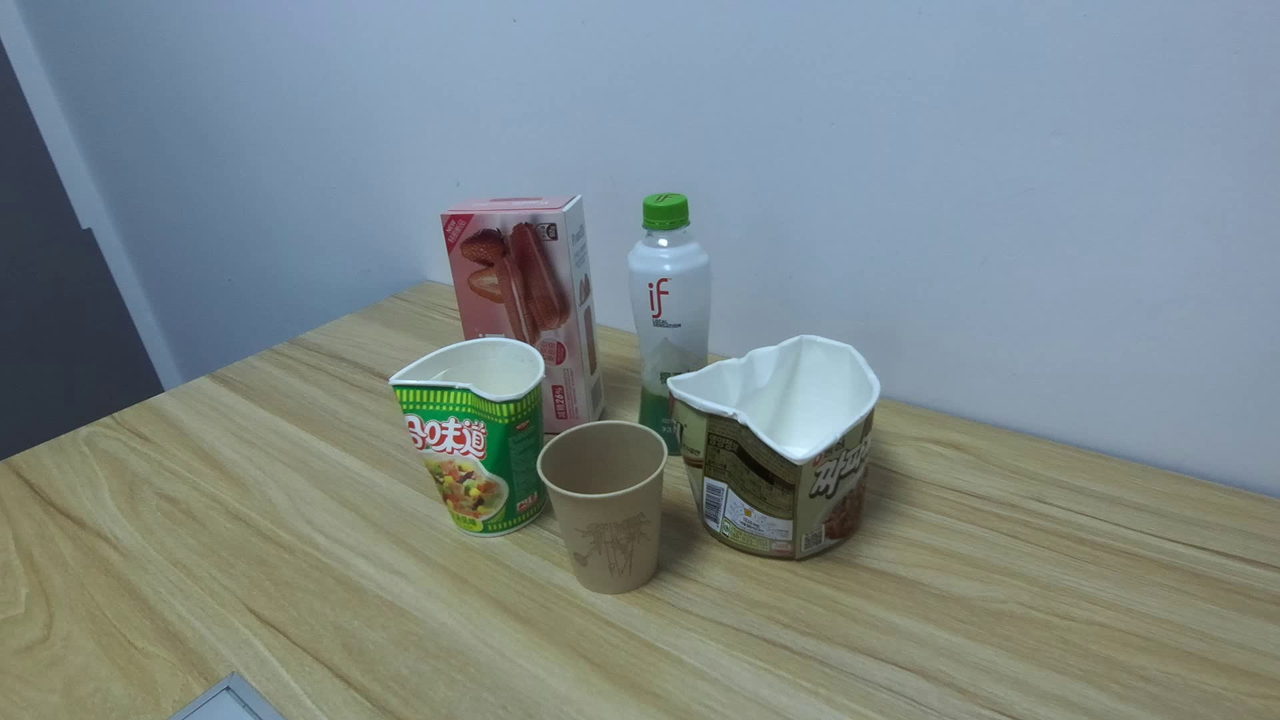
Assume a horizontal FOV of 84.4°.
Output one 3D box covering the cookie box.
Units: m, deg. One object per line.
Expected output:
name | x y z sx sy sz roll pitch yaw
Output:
cookie box | -0.086 -0.031 0.554 0.096 0.185 0.048 1 26 12

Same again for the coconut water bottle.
coconut water bottle | 0.025 -0.024 0.515 0.063 0.189 0.063 -5 27 3

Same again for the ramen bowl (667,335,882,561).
ramen bowl | 0.096 0.050 0.459 0.134 0.098 0.113 -28 35 -35

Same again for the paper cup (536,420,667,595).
paper cup | -0.018 0.091 0.422 0.075 0.082 0.075 -4 28 2

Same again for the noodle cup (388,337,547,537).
noodle cup | -0.100 0.054 0.478 0.093 0.109 0.087 21 37 40
